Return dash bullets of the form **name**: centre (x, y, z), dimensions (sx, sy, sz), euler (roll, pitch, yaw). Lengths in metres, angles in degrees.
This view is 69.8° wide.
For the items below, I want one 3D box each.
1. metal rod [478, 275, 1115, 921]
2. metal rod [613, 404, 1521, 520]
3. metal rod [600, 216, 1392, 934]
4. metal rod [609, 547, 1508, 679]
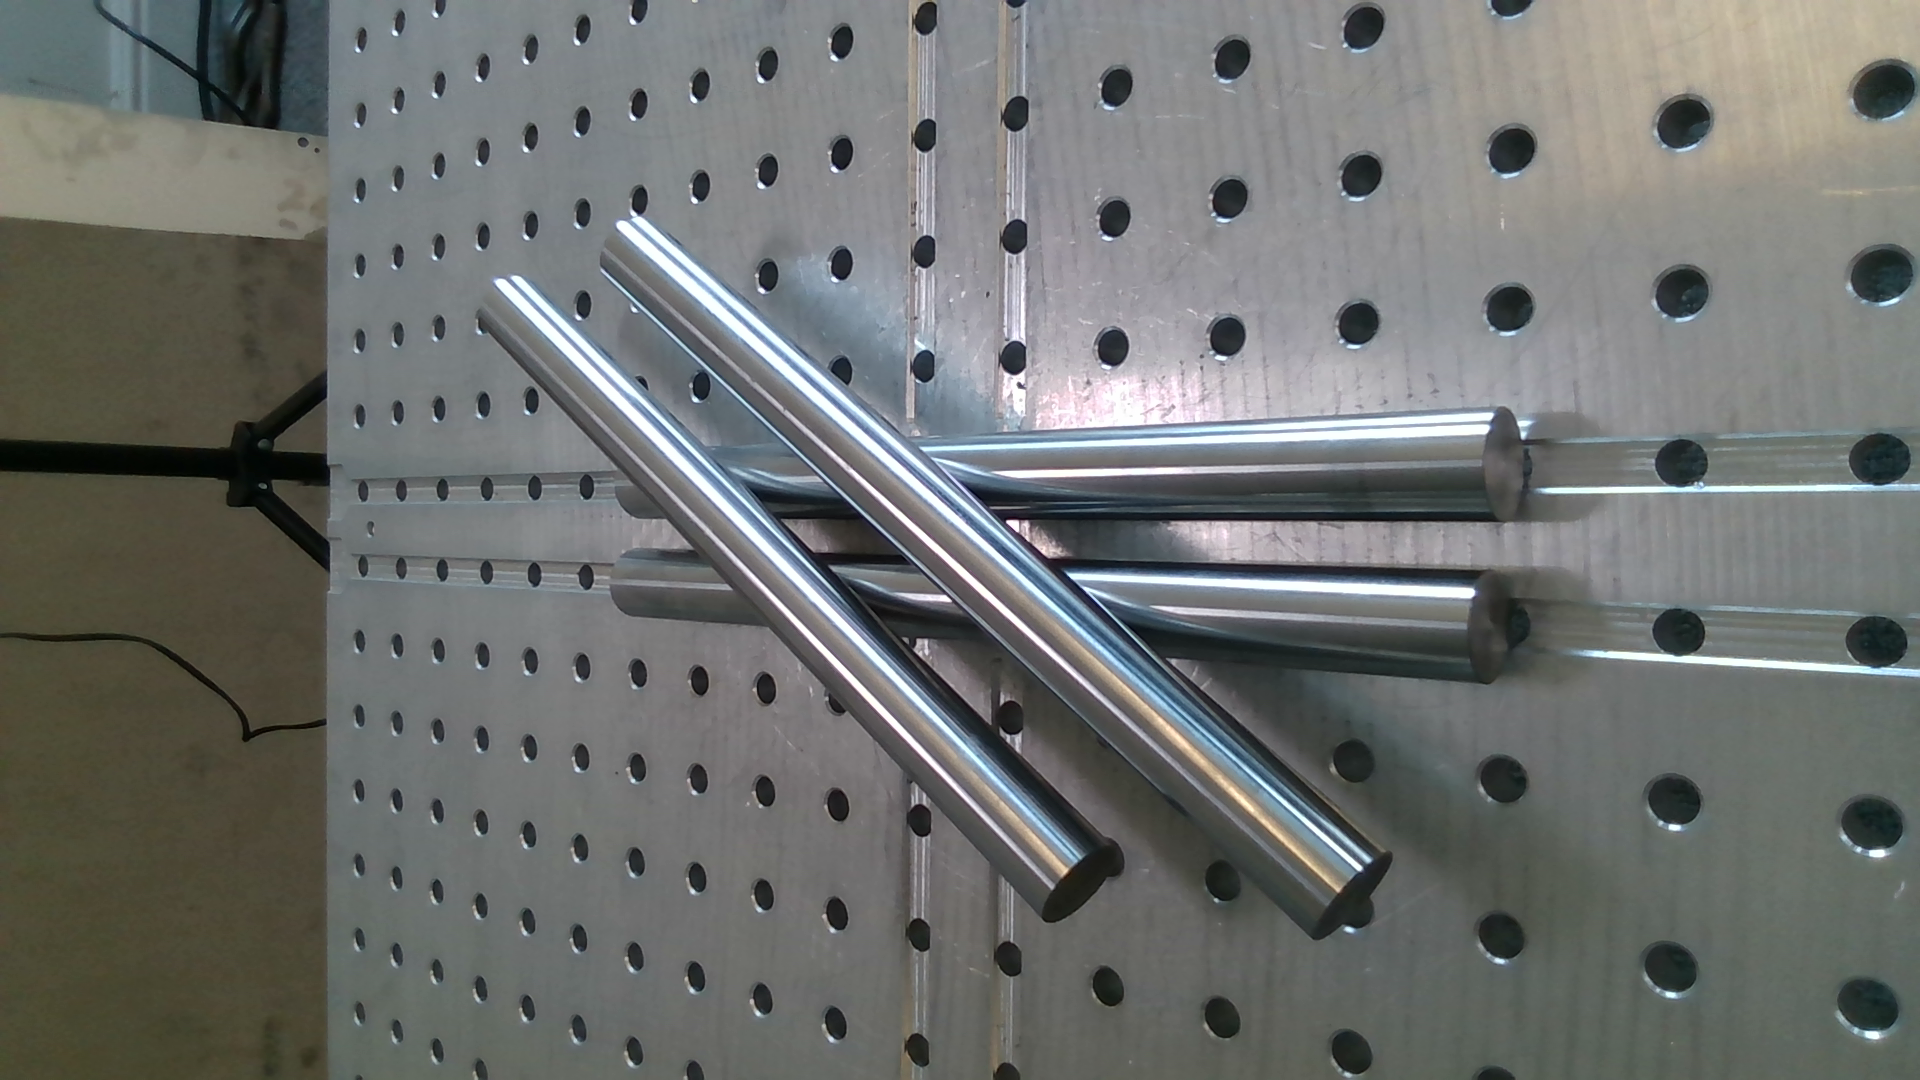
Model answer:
- **metal rod**: centre (-0.066, 0.000, 0.417), dimensions (0.299, 0.025, 0.025), euler (41, 115, 32)
- **metal rod**: centre (0.002, -0.018, 0.392), dimensions (0.300, 0.025, 0.025), euler (1, 91, 40)
- **metal rod**: centre (-0.012, -0.010, 0.371), dimensions (0.299, 0.025, 0.025), euler (42, 116, 32)
- **metal rod**: centre (0.000, 0.016, 0.395), dimensions (0.300, 0.025, 0.025), euler (1, 91, 40)
